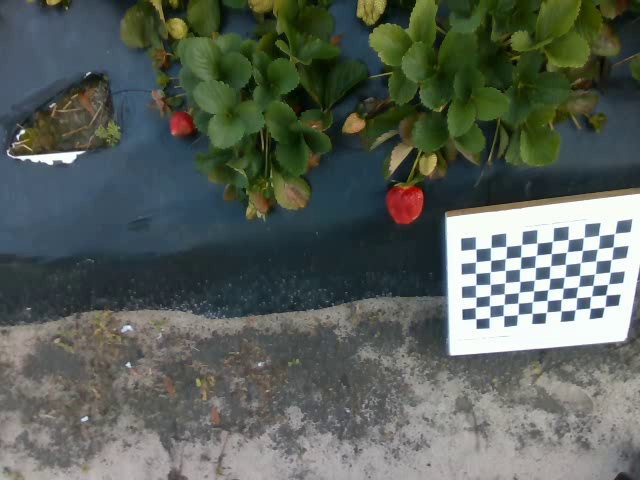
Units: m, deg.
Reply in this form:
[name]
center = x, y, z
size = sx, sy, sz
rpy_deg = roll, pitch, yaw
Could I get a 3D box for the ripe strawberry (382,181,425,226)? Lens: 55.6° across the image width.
[ripe strawberry]
center = 0.140, -0.058, 0.984
size = 0.067, 0.075, 0.039
rpy_deg = -1, 28, 6
